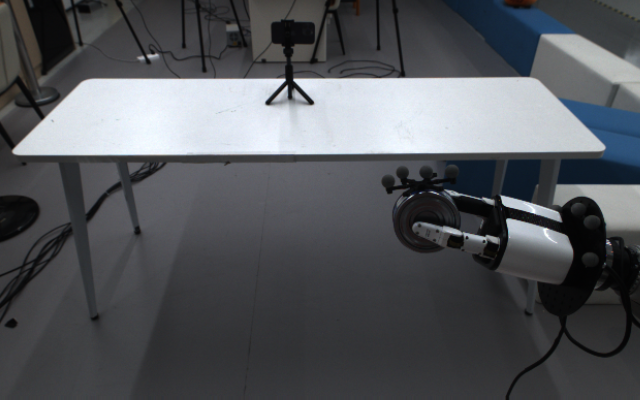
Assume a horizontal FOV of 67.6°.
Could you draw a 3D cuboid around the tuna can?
[{"bbox_3d":[0.140,0.023,0.631,0.085,0.085,0.034,6,18,5],"label":"tuna can"}]
